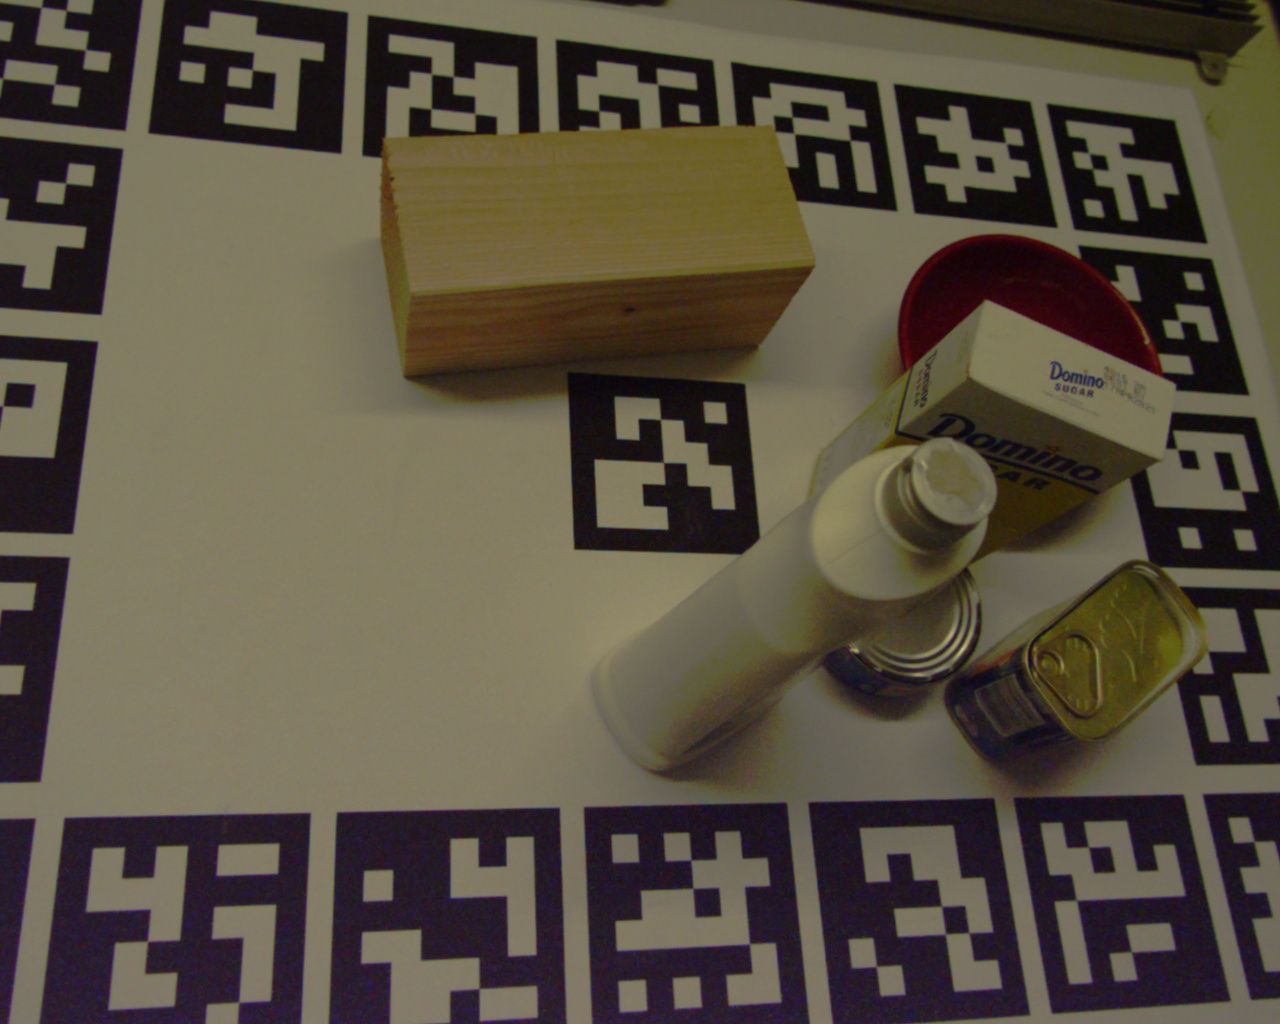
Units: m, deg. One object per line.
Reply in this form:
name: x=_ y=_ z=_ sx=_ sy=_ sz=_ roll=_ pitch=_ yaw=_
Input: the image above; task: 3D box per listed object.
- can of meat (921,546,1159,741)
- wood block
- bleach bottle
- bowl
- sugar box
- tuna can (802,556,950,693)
can of meat: x=0.209 y=0.073 z=0.611 sx=0.101 sy=0.084 sz=0.058 roll=-30 pitch=76 yaw=-24
wood block: x=-0.040 y=-0.133 z=0.629 sx=0.204 sy=0.090 sz=0.091 roll=-8 pitch=75 yaw=-18
bleach bottle: x=0.051 y=0.038 z=0.491 sx=0.102 sy=0.251 sz=0.068 roll=-25 pitch=76 yaw=-22
bowl: x=0.210 y=-0.081 z=0.684 sx=0.161 sy=0.055 sz=0.162 roll=3 pitch=68 yaw=-8
sugar box: x=0.155 y=-0.028 z=0.580 sx=0.093 sy=0.177 sz=0.045 roll=20 pitch=68 yaw=-3
tuna can: x=0.120 y=0.054 z=0.617 sx=0.085 sy=0.034 sz=0.086 roll=4 pitch=71 yaw=-12
